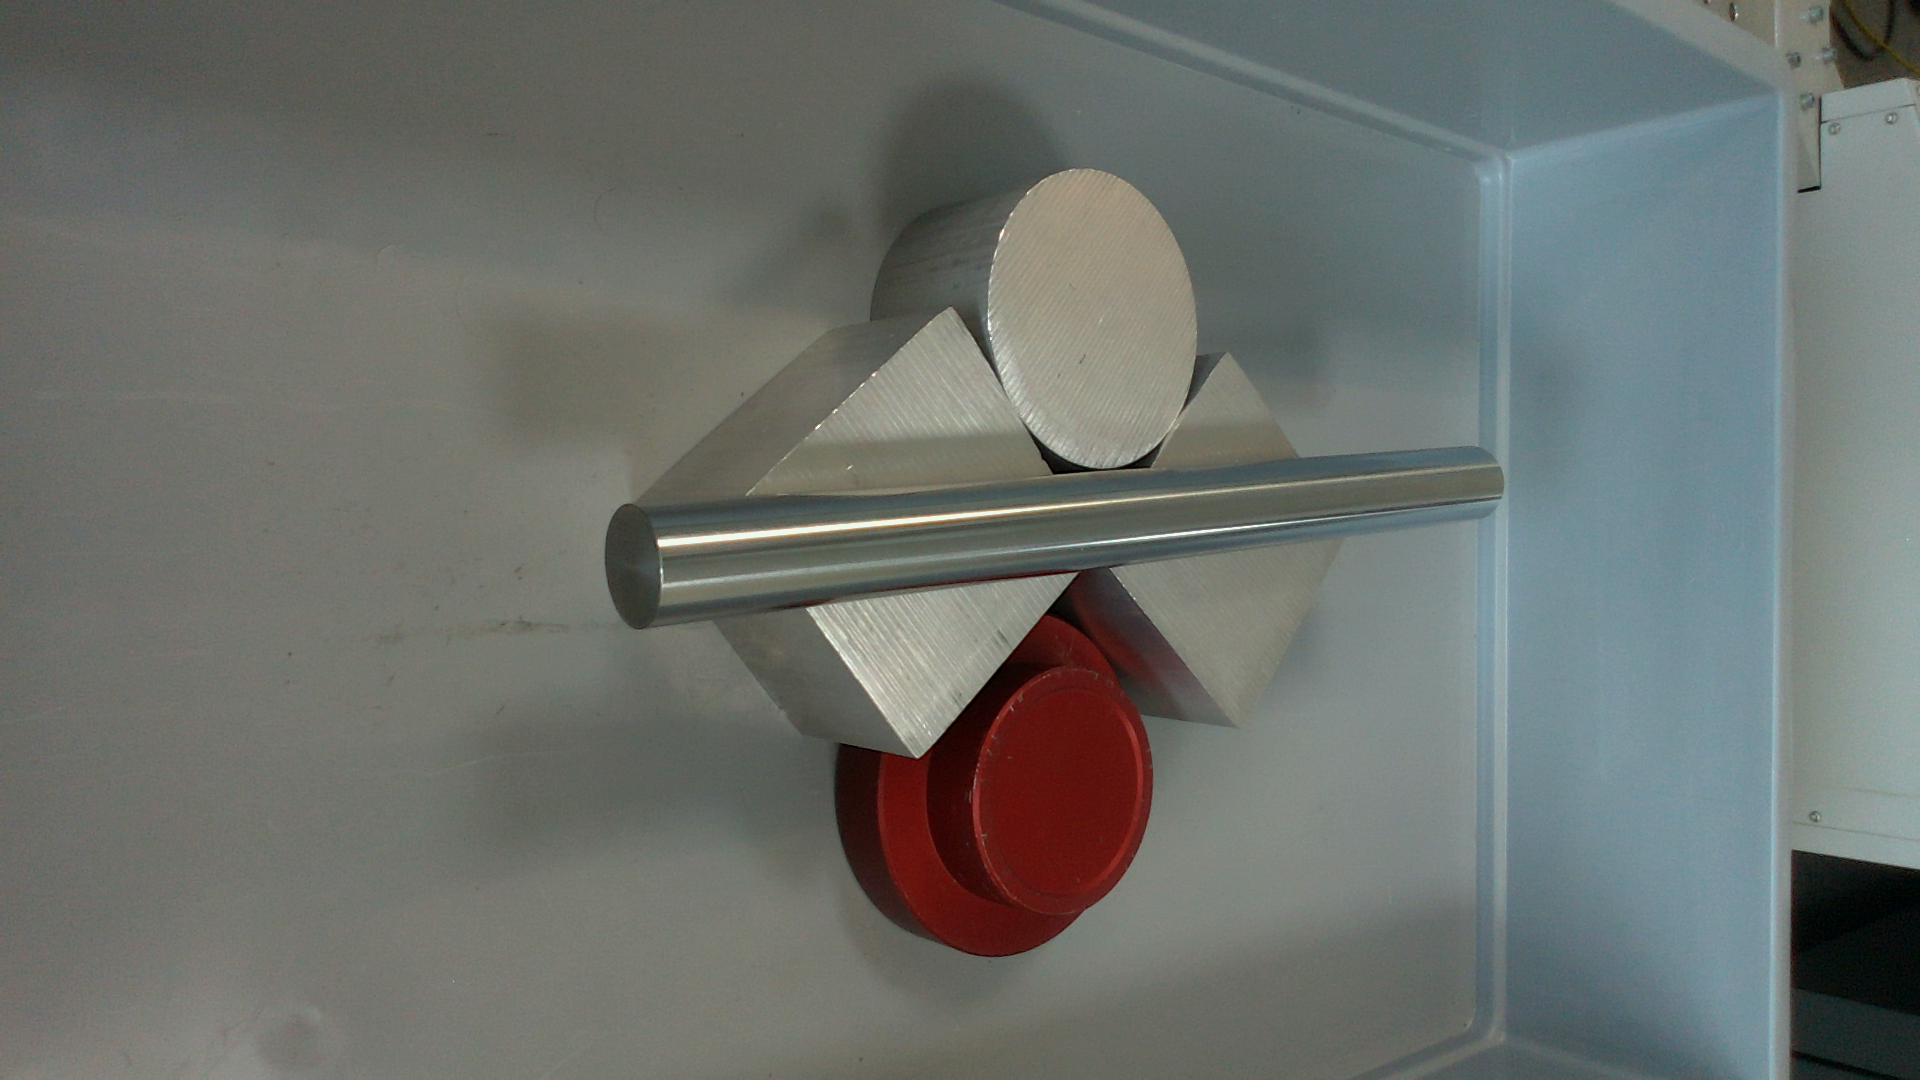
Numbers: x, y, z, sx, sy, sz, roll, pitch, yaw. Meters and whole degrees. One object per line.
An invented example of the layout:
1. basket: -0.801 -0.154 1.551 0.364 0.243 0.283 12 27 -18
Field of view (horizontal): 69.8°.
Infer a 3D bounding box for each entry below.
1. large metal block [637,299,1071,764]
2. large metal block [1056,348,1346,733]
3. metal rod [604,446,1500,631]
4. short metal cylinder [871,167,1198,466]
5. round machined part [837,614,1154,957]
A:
1. large metal block: -0.022 -0.003 0.352 0.080 0.050 0.080 -47 120 -30
2. large metal block: 0.066 0.000 0.422 0.080 0.050 0.080 50 62 -28
3. metal rod: 0.052 -0.007 0.363 0.301 0.025 0.025 -6 94 -39
4. short metal cylinder: 0.022 -0.060 0.389 0.080 0.050 0.080 0 90 -40
5. round machined part: 0.017 0.069 0.390 0.098 0.042 0.098 0 90 -40
